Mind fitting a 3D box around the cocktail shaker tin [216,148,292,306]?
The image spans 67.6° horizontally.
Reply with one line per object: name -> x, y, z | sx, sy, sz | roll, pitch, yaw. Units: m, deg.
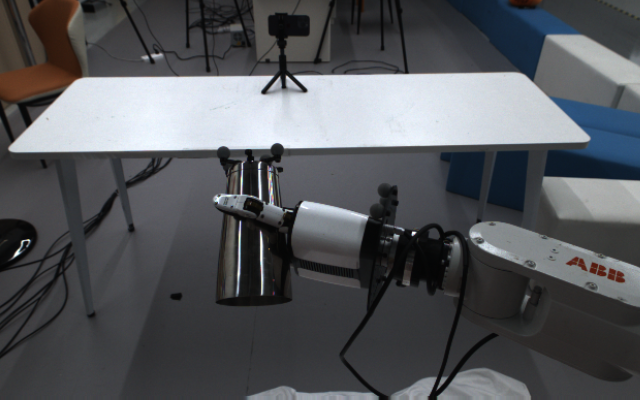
cocktail shaker tin -> -0.084, 0.042, 0.604 | 0.093, 0.093, 0.170 | -2, 70, -5
